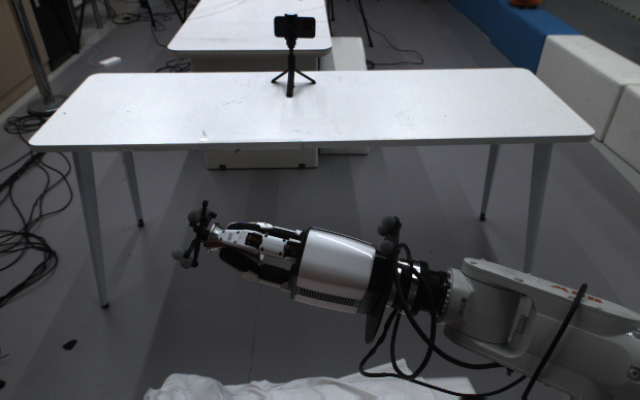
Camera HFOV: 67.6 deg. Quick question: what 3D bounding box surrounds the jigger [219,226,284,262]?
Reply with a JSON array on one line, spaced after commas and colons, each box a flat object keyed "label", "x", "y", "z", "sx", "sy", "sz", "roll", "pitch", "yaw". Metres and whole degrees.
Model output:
[{"label": "jigger", "x": -0.096, "y": 0.052, "z": 0.611, "sx": 0.071, "sy": 0.043, "sz": 0.043, "roll": 13, "pitch": 36, "yaw": 4}]
